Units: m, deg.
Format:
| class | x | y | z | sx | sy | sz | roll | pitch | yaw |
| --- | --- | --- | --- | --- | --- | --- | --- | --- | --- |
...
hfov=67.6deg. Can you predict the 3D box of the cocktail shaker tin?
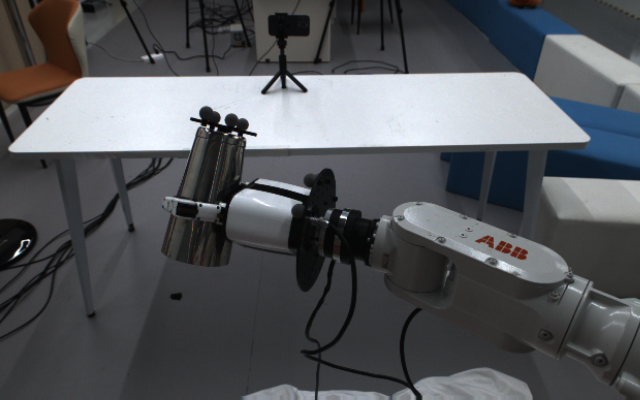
| class | x | y | z | sx | sy | sz | roll | pitch | yaw |
| --- | --- | --- | --- | --- | --- | --- | --- | --- | --- |
| cocktail shaker tin | -0.148 | -0.005 | 0.648 | 0.093 | 0.170 | 0.093 | 13 | 5 | -1 |
